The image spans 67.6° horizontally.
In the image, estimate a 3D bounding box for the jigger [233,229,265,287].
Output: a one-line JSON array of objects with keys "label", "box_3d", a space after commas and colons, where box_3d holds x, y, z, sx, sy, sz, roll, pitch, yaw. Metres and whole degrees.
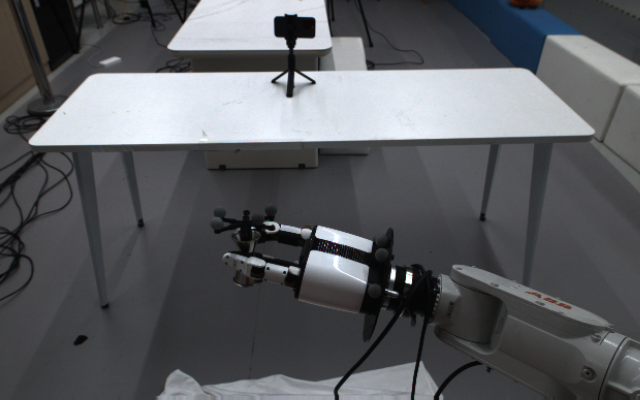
[{"label": "jigger", "box_3d": [-0.100, 0.080, 0.668, 0.043, 0.071, 0.043, 0, 21, 0]}]
